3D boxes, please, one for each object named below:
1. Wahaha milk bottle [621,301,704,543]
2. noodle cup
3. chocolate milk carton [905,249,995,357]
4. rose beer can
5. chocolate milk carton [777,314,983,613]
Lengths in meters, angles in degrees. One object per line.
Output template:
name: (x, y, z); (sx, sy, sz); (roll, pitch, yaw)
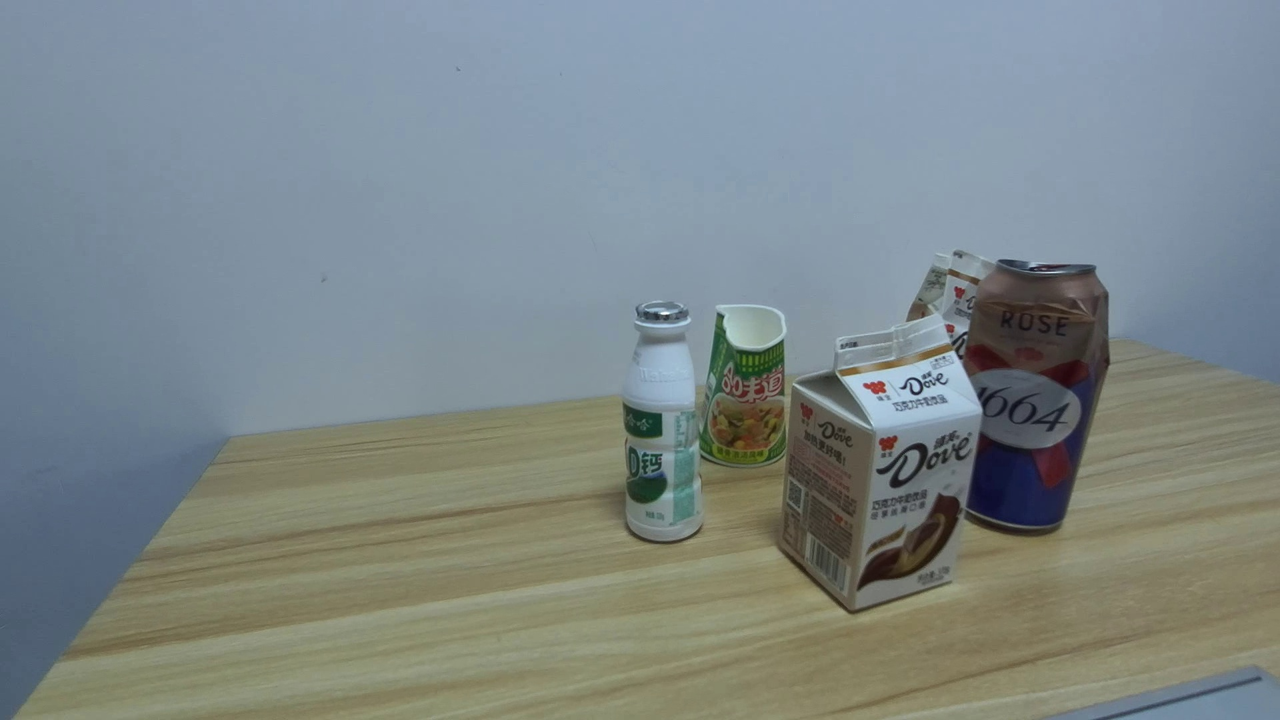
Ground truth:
Wahaha milk bottle: (0.016, 0.039, 0.441); (0.056, 0.147, 0.056); (-1, 16, 1)
noodle cup: (0.079, 0.020, 0.544); (0.070, 0.111, 0.115); (5, 20, 19)
chocolate milk carton: (0.264, -0.017, 0.582); (0.076, 0.155, 0.073); (-2, 21, -3)
rose beer can: (0.247, 0.022, 0.449); (0.065, 0.167, 0.075); (-13, 20, -34)
chocolate milk carton: (0.132, 0.050, 0.394); (0.075, 0.148, 0.073); (-7, 20, -22)
